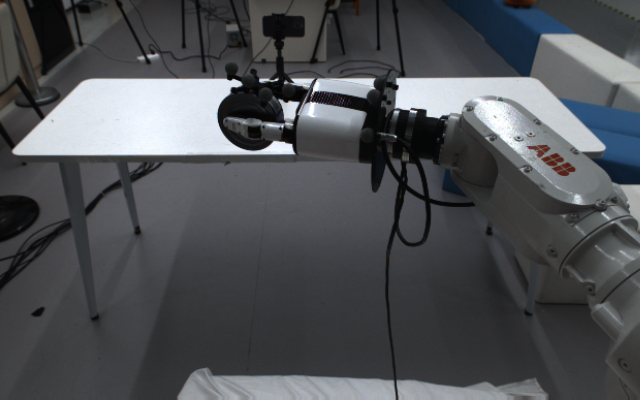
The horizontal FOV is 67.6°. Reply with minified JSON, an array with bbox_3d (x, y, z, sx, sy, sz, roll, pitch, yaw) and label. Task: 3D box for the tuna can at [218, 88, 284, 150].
[{"bbox_3d":[-0.094,-0.112,0.663,0.085,0.085,0.034,9,35,10],"label":"tuna can"}]
